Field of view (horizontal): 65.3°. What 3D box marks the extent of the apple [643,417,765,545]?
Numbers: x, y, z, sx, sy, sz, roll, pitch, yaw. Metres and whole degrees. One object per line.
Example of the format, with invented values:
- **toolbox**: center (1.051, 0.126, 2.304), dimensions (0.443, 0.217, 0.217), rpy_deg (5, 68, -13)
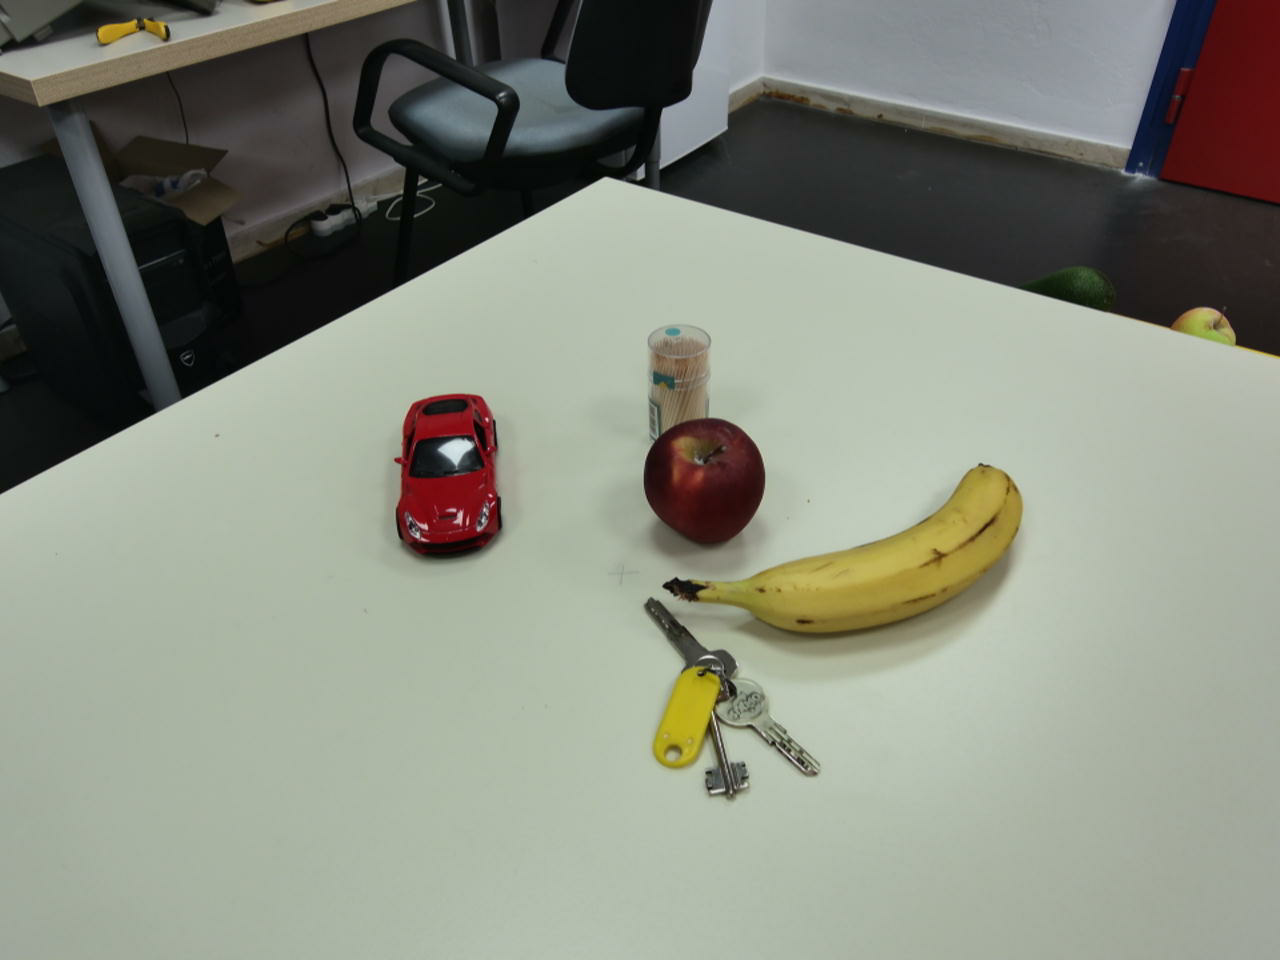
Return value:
- **apple**: center (0.037, 0.001, 0.566), dimensions (0.070, 0.072, 0.070), rpy_deg (0, 38, 0)
